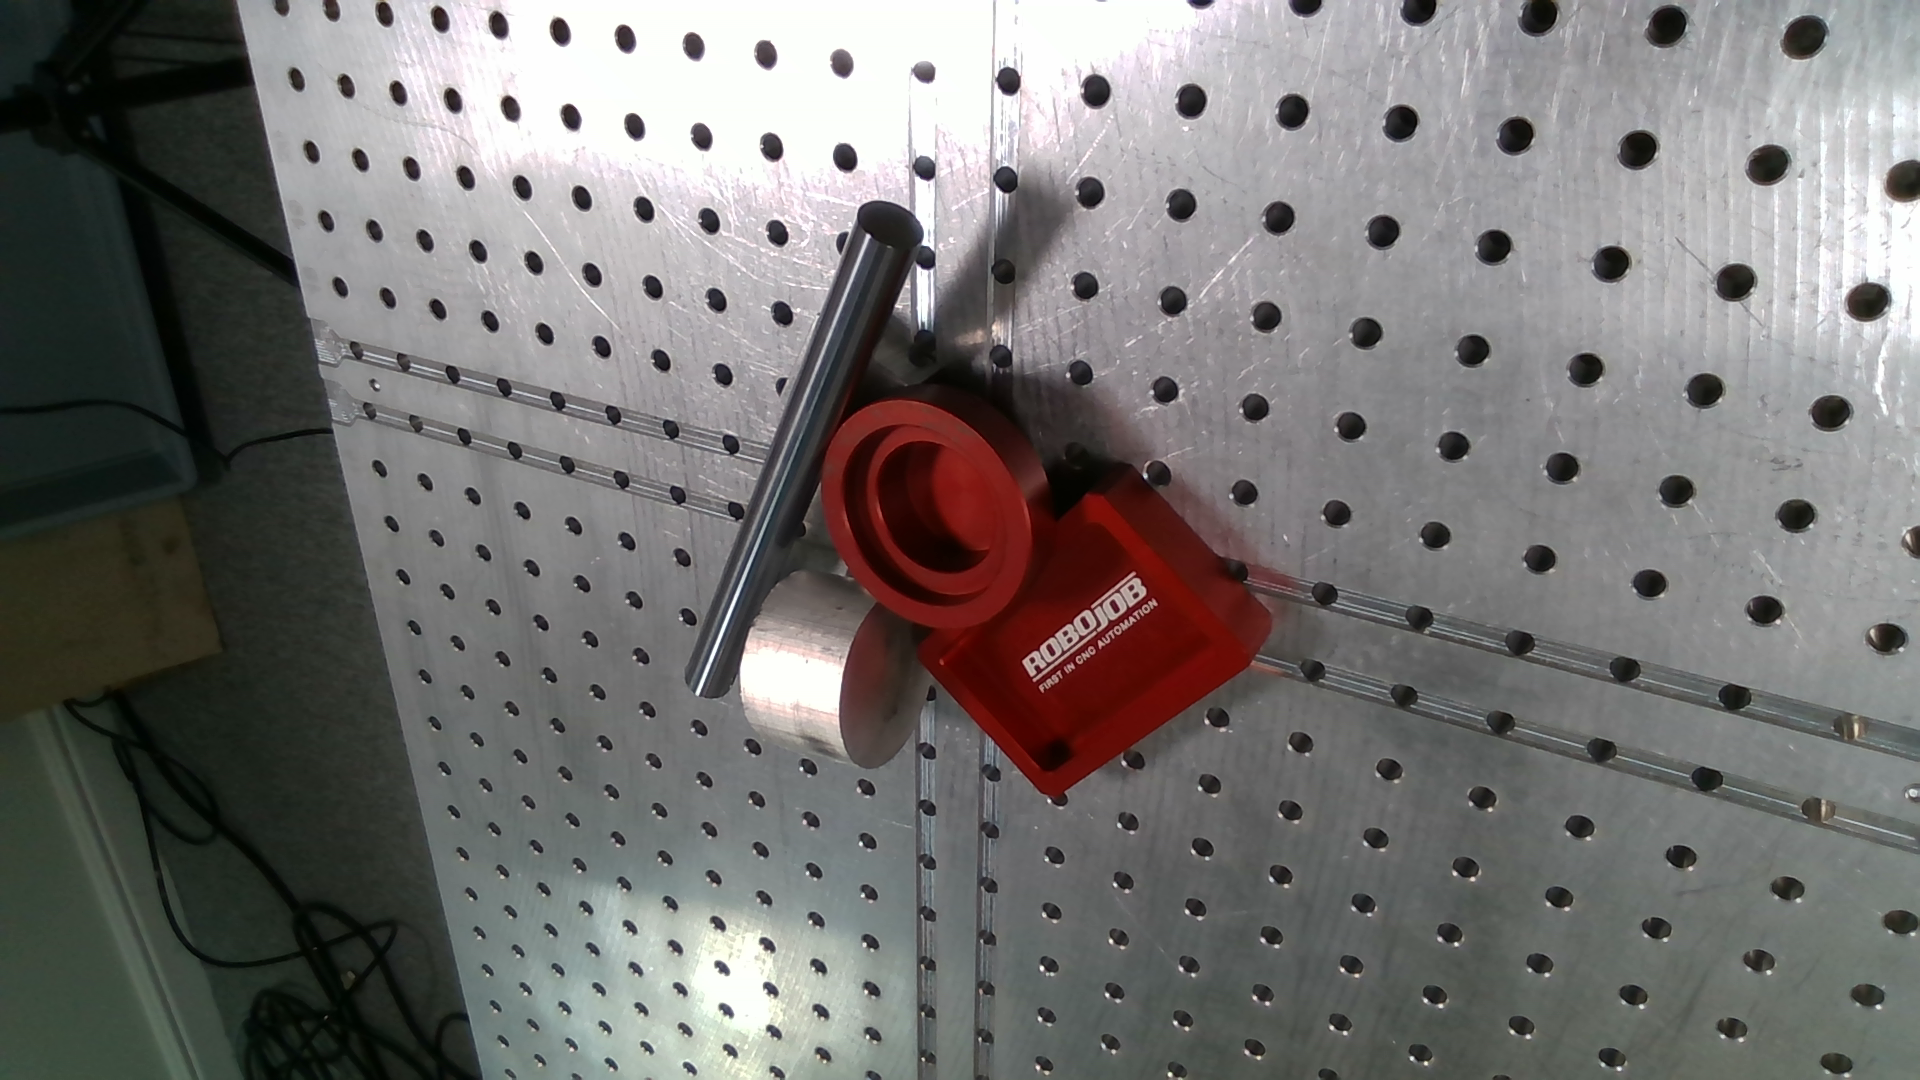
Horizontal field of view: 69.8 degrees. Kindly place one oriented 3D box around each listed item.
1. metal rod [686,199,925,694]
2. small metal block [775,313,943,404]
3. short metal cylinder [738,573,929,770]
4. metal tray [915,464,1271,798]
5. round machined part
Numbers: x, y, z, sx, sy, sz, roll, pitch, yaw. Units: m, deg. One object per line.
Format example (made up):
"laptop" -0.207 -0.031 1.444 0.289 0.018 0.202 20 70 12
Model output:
"metal rod" -0.076 -0.021 0.591 0.025 0.025 0.301 39 137 8
"small metal block" -0.043 -0.065 0.574 0.050 0.025 0.050 38 129 8
"short metal cylinder" -0.054 0.057 0.610 0.050 0.080 0.080 11 120 27
"metal tray" 0.051 0.041 0.570 0.090 0.030 0.130 47 129 0
"round machined part" -0.005 -0.016 0.556 0.098 0.042 0.098 13 119 25
